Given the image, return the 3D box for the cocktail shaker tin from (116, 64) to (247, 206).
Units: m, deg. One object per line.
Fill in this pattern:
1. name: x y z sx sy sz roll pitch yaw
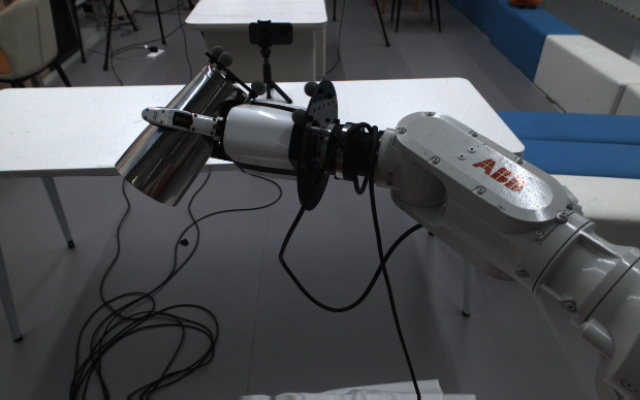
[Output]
1. cocktail shaker tin: -0.170 -0.088 0.621 0.170 0.093 0.093 -50 46 4
